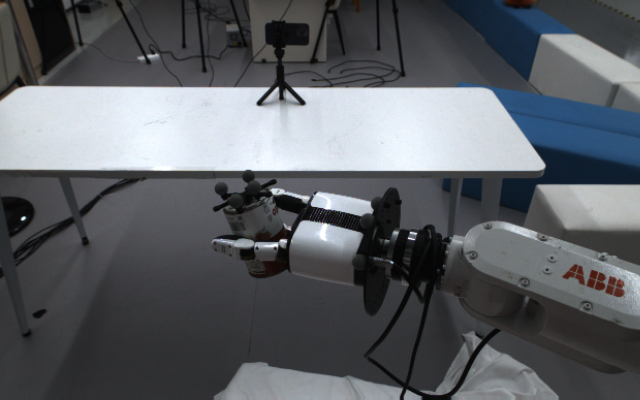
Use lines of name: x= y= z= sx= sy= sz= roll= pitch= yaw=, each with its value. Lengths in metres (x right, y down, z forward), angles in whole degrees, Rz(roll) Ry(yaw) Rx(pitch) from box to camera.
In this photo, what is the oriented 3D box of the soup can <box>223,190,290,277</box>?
soup can: x=-0.078 y=0.044 z=0.640 sx=0.067 sy=0.101 sz=0.067 roll=-16 pitch=23 yaw=7
